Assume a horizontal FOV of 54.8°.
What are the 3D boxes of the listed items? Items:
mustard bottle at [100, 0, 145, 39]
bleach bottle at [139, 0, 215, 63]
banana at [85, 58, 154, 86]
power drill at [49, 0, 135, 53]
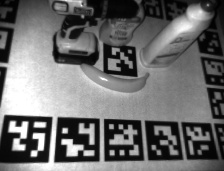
[{"bbox_3d":[0.034,-0.196,0.568,0.097,0.190,0.058,4,69,-17],"label":"mustard bottle"},{"bbox_3d":[0.166,-0.141,0.569,0.103,0.249,0.067,-5,73,-18],"label":"bleach bottle"},{"bbox_3d":[0.023,-0.037,0.590,0.199,0.038,0.074,6,74,-14],"label":"banana"},{"bbox_3d":[-0.057,-0.151,0.502,0.186,0.186,0.057,1,64,-20],"label":"power drill"}]
